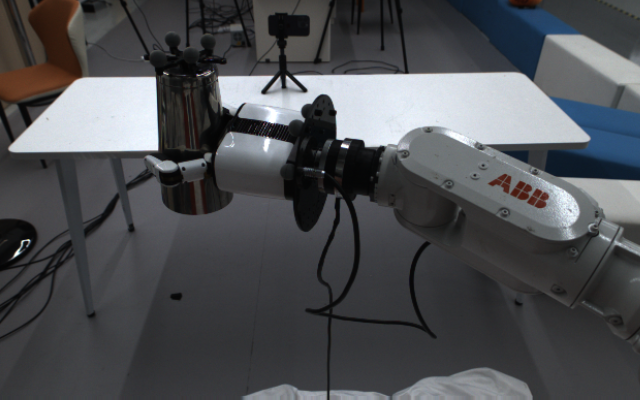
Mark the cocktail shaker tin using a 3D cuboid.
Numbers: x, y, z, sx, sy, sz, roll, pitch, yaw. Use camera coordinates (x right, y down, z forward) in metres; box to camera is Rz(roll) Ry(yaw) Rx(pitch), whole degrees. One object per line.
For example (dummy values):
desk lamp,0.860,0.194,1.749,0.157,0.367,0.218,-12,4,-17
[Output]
cocktail shaker tin,-0.151,-0.077,0.583,0.093,0.170,0.093,3,34,-2
